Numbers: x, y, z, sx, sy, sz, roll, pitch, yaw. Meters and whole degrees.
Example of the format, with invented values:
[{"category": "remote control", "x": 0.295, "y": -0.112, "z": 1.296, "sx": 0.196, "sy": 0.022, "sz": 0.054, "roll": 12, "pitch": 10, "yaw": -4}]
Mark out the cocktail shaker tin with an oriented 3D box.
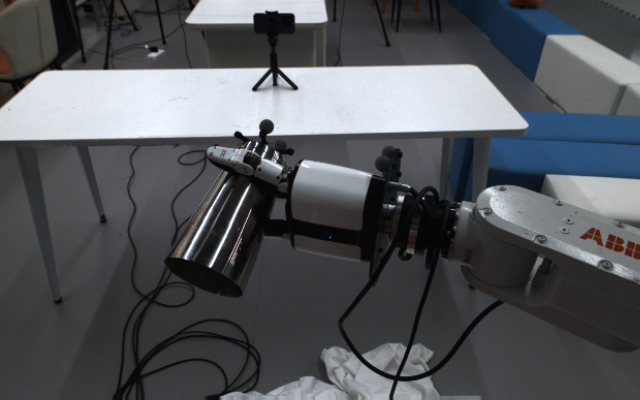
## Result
[{"category": "cocktail shaker tin", "x": -0.100, "y": 0.014, "z": 0.565, "sx": 0.093, "sy": 0.093, "sz": 0.170, "roll": 13, "pitch": 59, "yaw": 16}]
